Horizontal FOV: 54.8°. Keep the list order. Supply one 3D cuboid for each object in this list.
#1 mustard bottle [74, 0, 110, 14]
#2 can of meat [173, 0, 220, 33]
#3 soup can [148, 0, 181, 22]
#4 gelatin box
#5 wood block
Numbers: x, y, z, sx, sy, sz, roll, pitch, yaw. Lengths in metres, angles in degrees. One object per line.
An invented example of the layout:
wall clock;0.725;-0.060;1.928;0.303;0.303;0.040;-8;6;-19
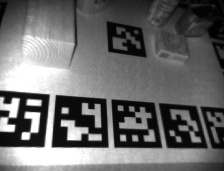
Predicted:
mustard bottle;-0.029;-0.257;0.502;0.097;0.191;0.058;-20;69;-28
can of meat;0.239;-0.197;0.621;0.103;0.083;0.057;-8;65;-25
soup can;0.149;-0.233;0.588;0.068;0.102;0.067;8;61;-13
gelatin box;0.165;-0.110;0.573;0.090;0.030;0.073;13;61;-9
wood block;-0.130;-0.151;0.463;0.092;0.089;0.205;6;56;-17
